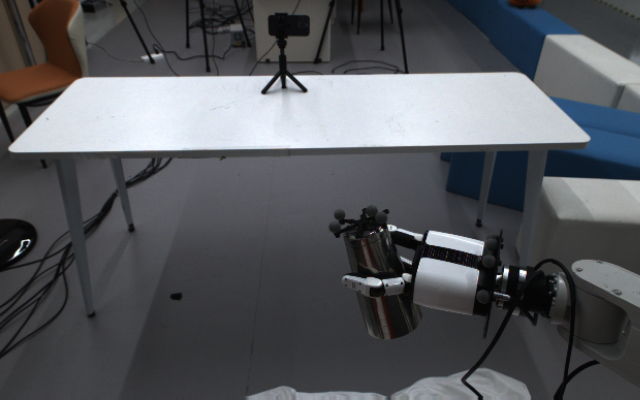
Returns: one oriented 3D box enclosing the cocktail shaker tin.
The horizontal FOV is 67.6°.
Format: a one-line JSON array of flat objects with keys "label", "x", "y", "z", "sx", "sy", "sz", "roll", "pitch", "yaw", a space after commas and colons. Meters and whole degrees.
[{"label": "cocktail shaker tin", "x": 0.090, "y": 0.115, "z": 0.735, "sx": 0.093, "sy": 0.170, "sz": 0.093, "roll": -17, "pitch": 20, "yaw": 6}]
